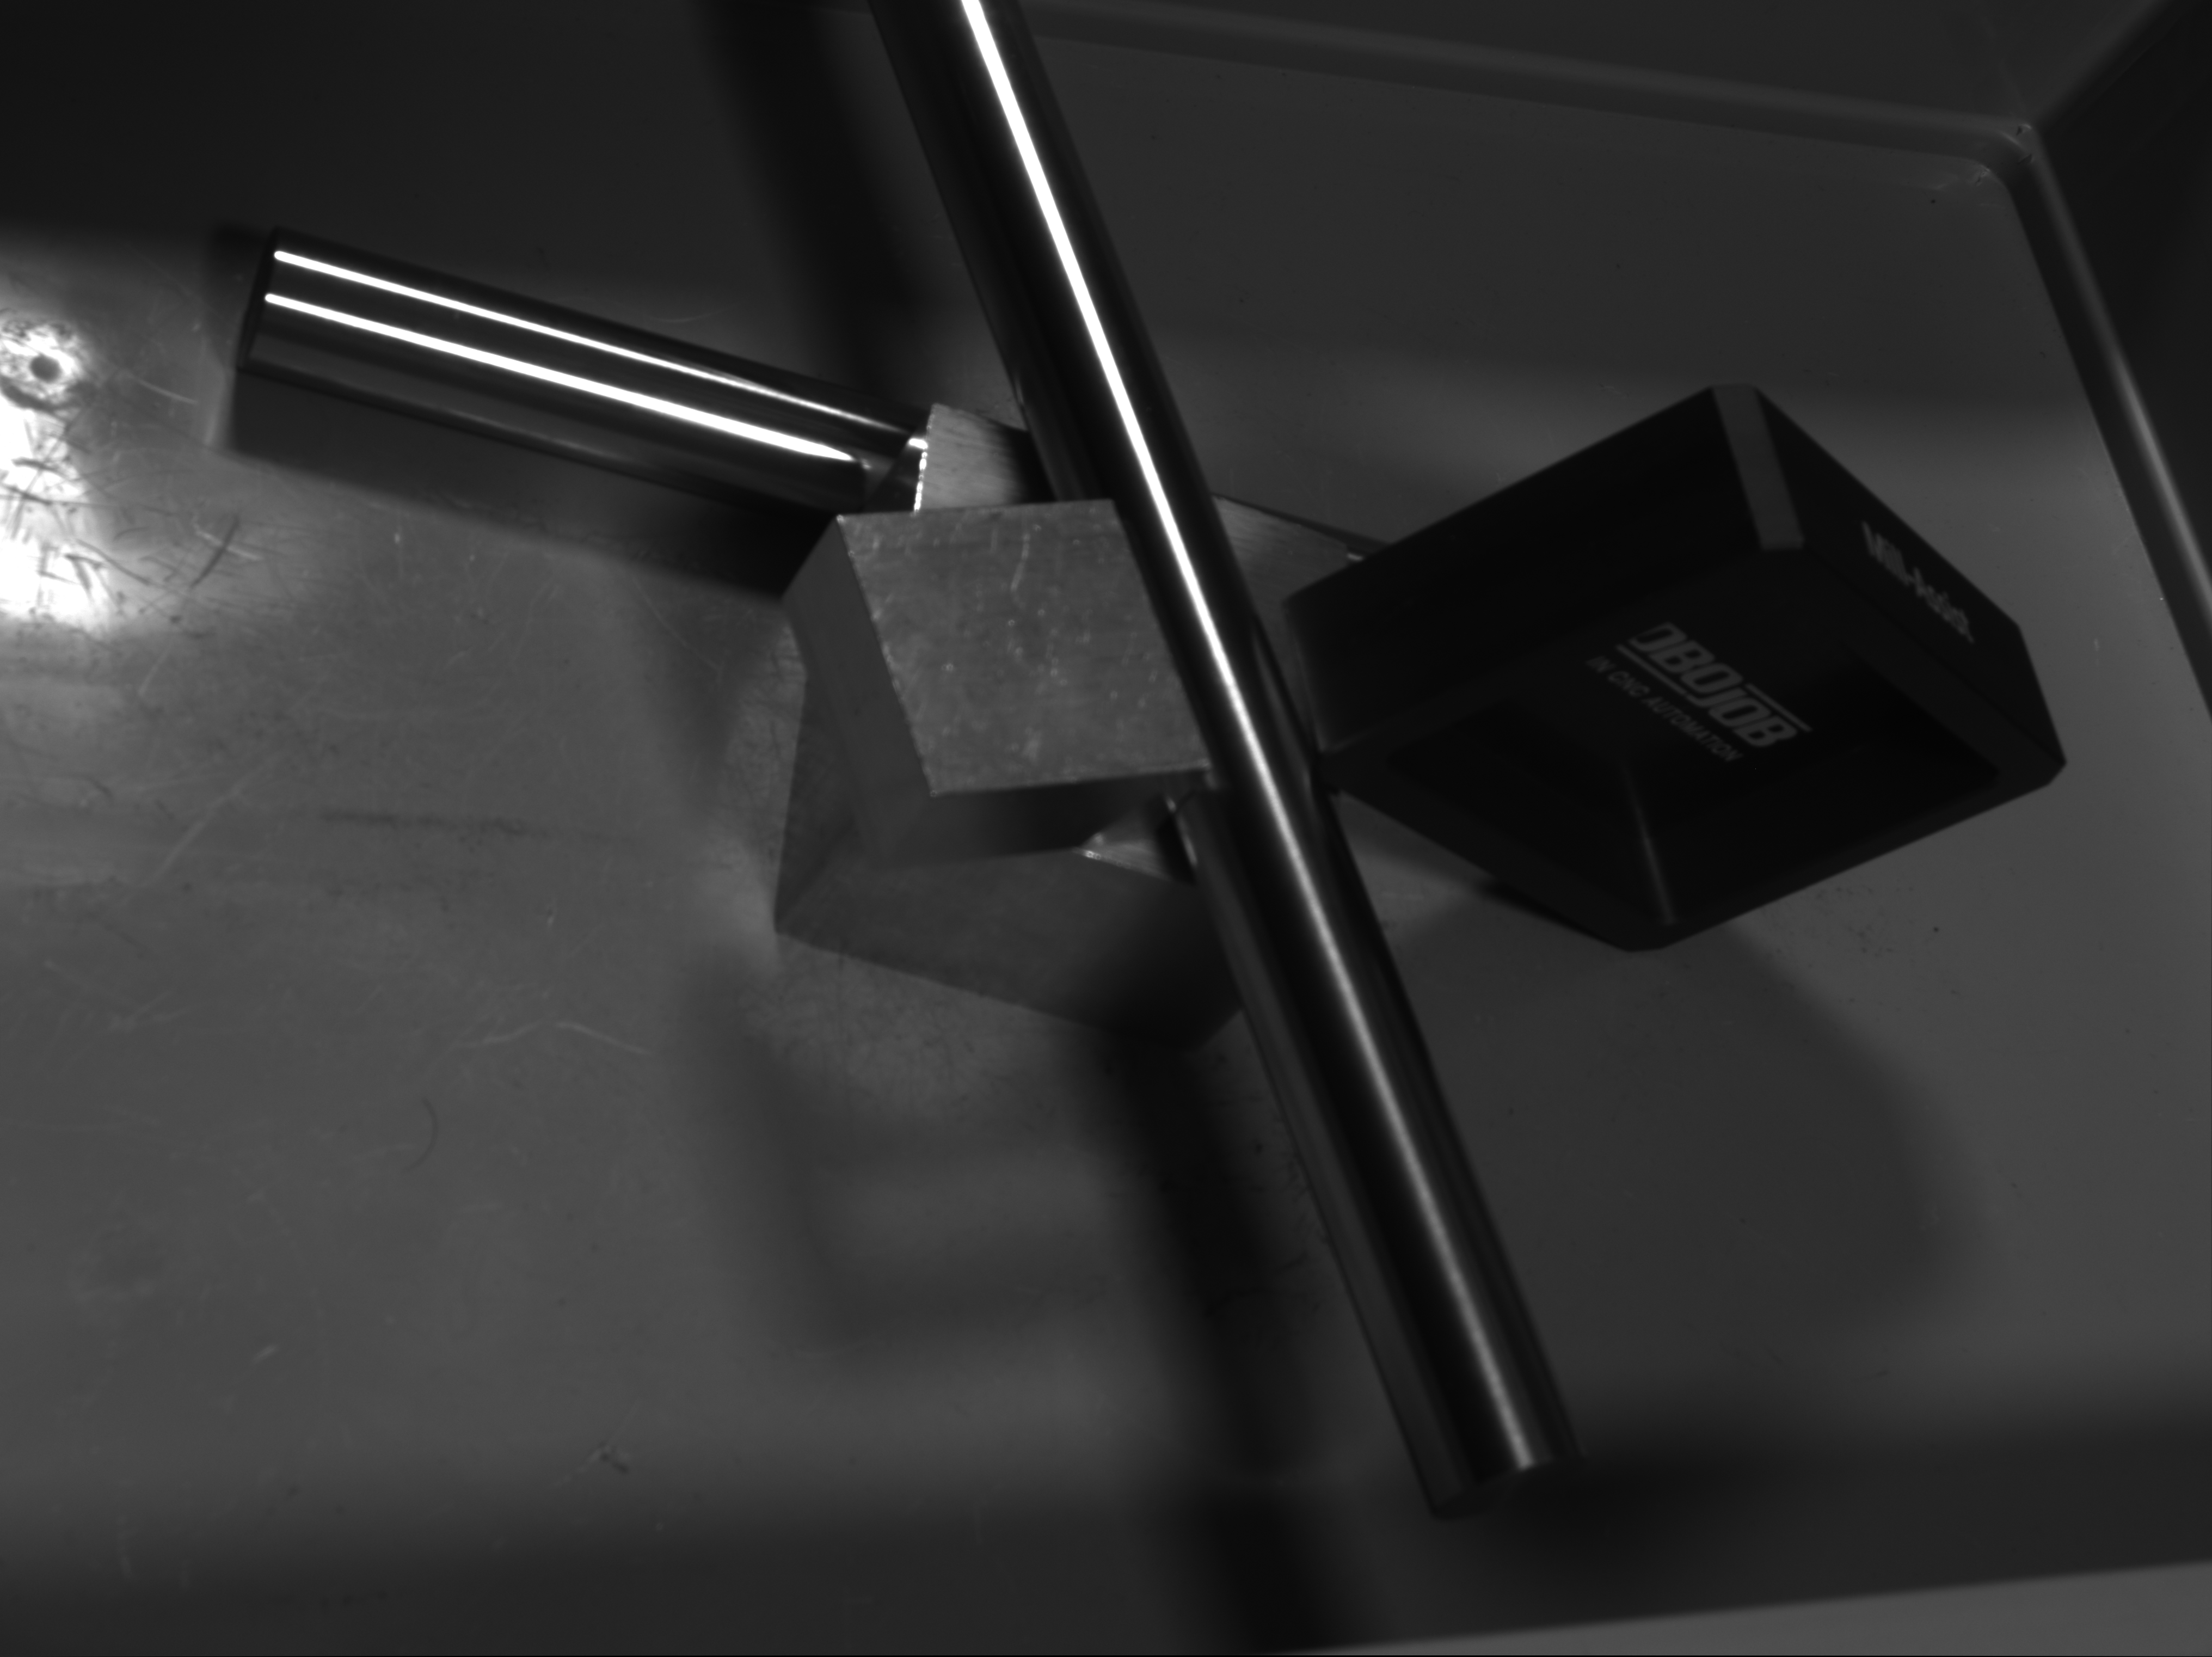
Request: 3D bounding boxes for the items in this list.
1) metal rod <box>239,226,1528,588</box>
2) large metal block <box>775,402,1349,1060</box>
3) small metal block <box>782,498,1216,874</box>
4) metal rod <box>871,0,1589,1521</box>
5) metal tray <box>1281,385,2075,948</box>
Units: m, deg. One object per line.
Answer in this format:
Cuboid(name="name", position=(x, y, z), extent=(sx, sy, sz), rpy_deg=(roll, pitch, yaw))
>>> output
Cuboid(name="metal rod", position=(-0.006, -0.055, 0.670), extent=(0.301, 0.025, 0.025), rpy_deg=(14, 56, -20))
Cuboid(name="large metal block", position=(-0.006, -0.016, 0.629), extent=(0.080, 0.050, 0.080), rpy_deg=(17, 55, -19))
Cuboid(name="small metal block", position=(-0.017, -0.023, 0.579), extent=(0.050, 0.025, 0.050), rpy_deg=(-6, 64, -31))
Cuboid(name="metal rod", position=(0.013, -0.032, 0.601), extent=(0.025, 0.025, 0.300), rpy_deg=(-6, 65, -31))
Cuboid(name="metal tray", position=(0.101, -0.023, 0.631), extent=(0.130, 0.090, 0.030), rpy_deg=(26, 45, -53))
